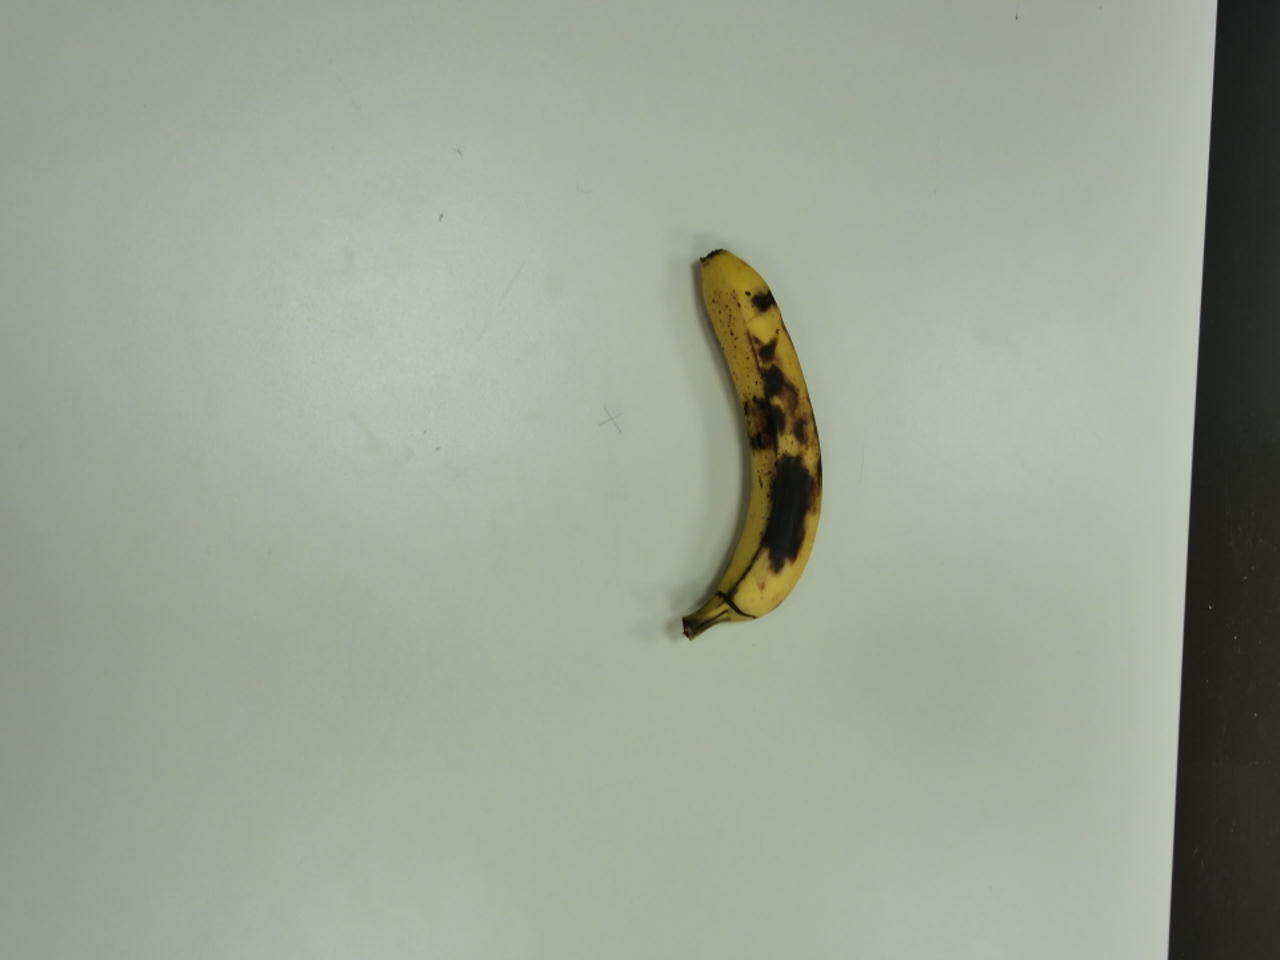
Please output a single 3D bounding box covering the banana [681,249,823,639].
[{"bbox_3d":[0.069,-0.019,0.579,0.084,0.038,0.222,5,88,-21],"label":"banana"}]
